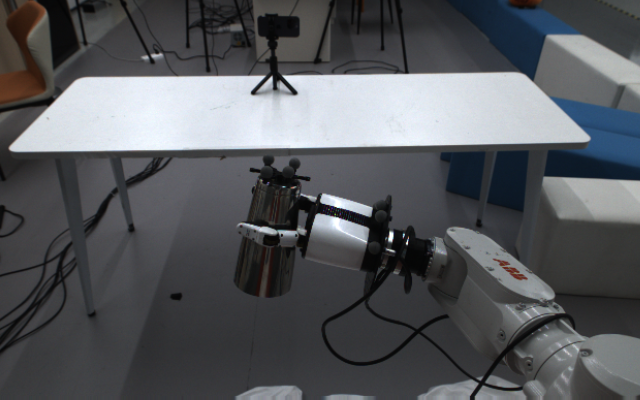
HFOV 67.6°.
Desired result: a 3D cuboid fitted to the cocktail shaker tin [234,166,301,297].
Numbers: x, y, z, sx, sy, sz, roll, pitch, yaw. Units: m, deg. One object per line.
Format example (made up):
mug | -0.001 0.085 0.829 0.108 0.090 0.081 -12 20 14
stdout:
cocktail shaker tin | -0.074 0.049 0.731 0.093 0.170 0.093 10 19 -4
